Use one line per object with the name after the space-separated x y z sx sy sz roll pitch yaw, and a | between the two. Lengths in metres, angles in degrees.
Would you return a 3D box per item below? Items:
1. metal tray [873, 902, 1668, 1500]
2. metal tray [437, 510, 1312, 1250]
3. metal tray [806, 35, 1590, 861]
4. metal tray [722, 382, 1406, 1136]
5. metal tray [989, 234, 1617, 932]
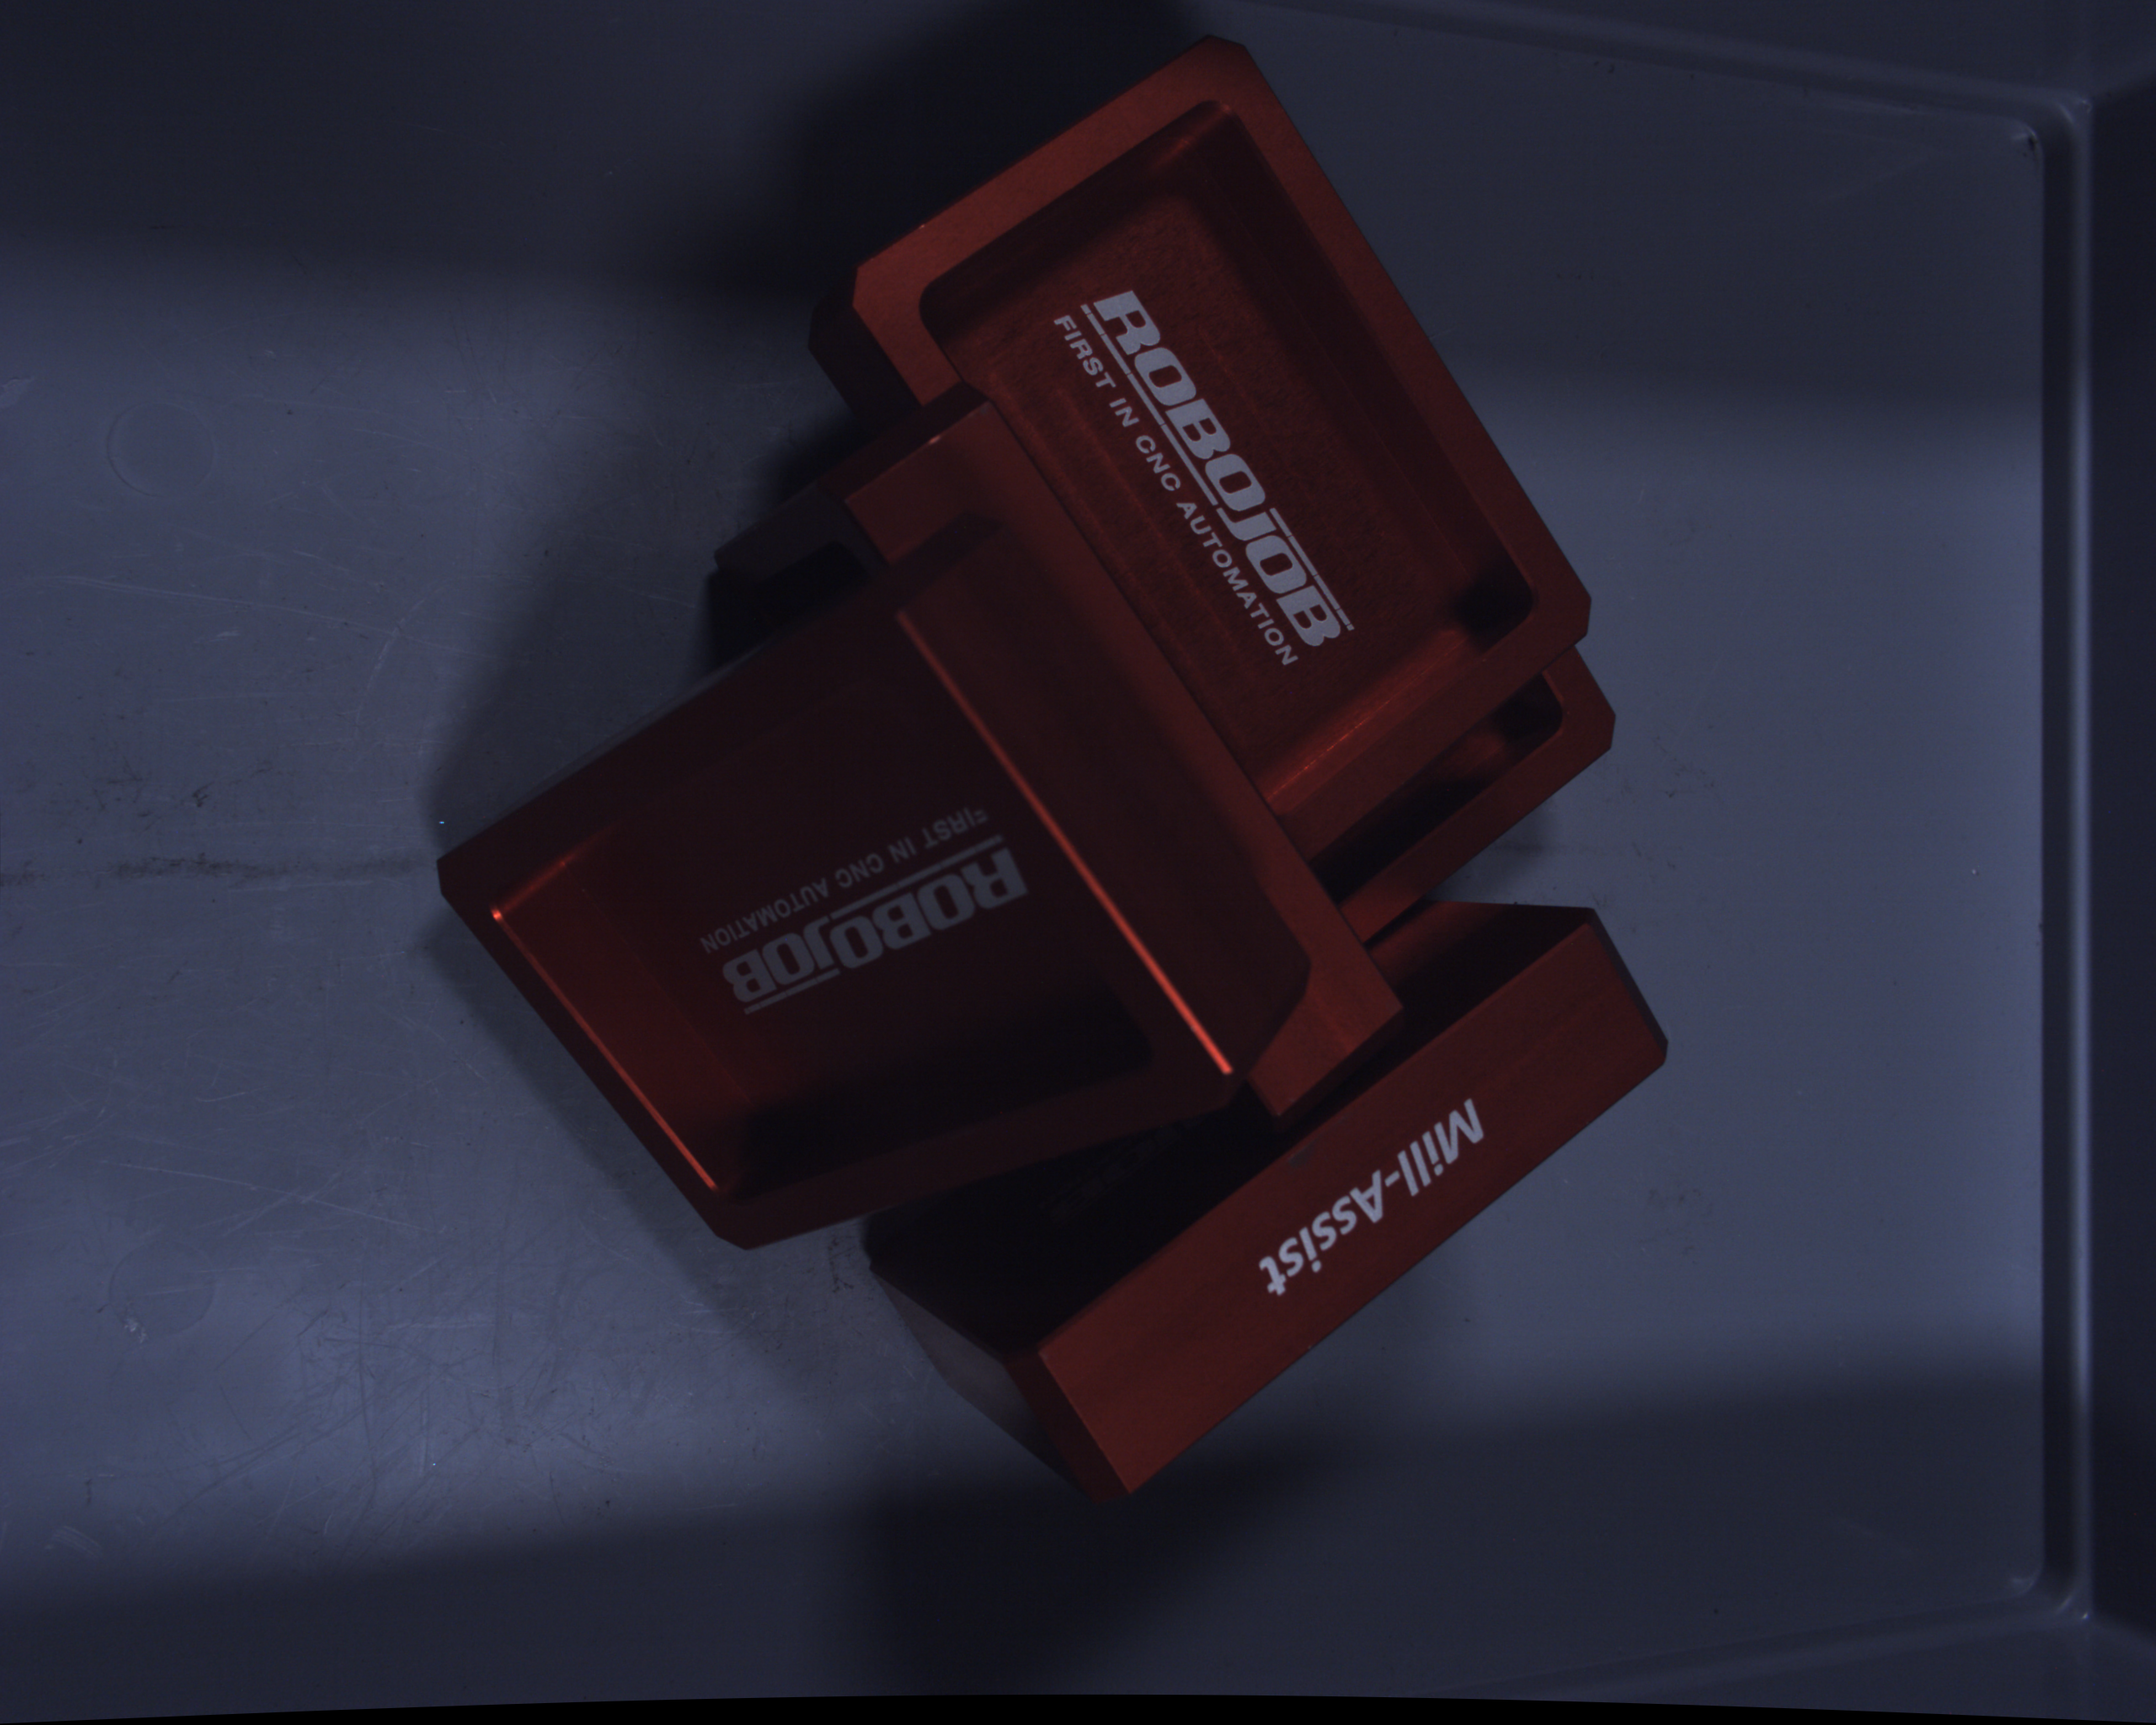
0.033 0.055 0.388 0.131 0.090 0.030 -34 102 -17 | metal tray
-0.038 0.010 0.341 0.090 0.130 0.030 55 43 -12 | metal tray
0.024 -0.071 0.384 0.090 0.030 0.130 -38 102 -16 | metal tray
-0.006 -0.015 0.372 0.030 0.090 0.130 -39 103 -16 | metal tray
0.040 -0.055 0.423 0.090 0.030 0.130 -36 101 -15 | metal tray
